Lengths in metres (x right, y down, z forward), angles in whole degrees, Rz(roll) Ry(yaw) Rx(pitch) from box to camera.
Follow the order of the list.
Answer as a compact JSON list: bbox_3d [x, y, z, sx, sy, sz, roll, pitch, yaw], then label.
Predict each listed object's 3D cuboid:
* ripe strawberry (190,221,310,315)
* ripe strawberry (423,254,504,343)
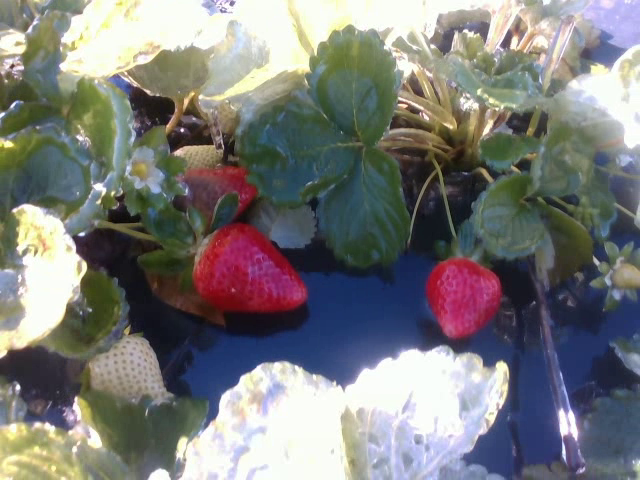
[{"bbox_3d":[-0.029,0.016,0.277,0.056,0.044,0.040,32,-20,2],"label":"ripe strawberry"},{"bbox_3d":[0.065,0.028,0.274,0.039,0.047,0.040,21,-31,-2],"label":"ripe strawberry"}]
